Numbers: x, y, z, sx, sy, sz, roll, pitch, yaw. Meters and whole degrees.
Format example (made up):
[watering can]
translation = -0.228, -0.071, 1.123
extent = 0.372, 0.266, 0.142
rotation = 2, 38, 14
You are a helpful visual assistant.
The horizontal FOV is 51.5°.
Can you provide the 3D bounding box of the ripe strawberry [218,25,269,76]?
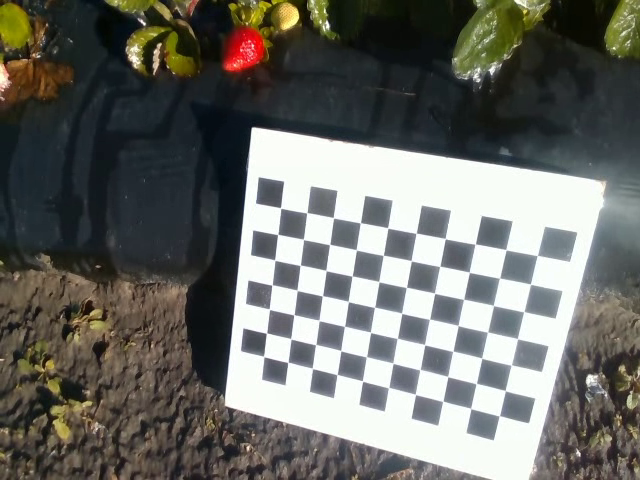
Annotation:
[ripe strawberry]
translation = -0.054, -0.124, 0.444
extent = 0.039, 0.040, 0.039
rotation = 4, 40, 27
